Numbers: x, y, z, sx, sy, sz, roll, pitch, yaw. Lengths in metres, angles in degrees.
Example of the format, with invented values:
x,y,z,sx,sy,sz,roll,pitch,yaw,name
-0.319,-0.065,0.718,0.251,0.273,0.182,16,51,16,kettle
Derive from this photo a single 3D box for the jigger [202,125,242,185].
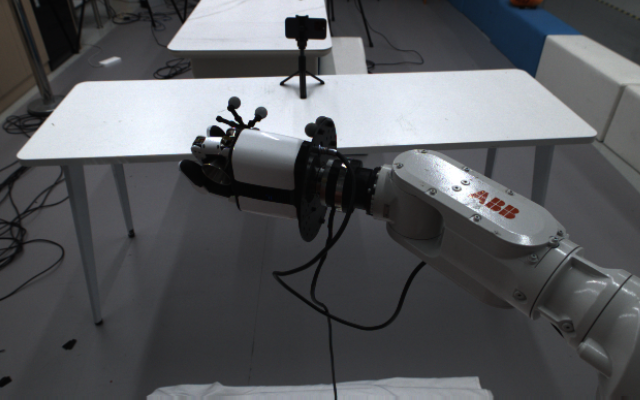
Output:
x,y,z,sx,sy,sz,roll,pitch,yaw,name
-0.123,-0.062,0.650,0.043,0.043,0.071,15,59,18,jigger
